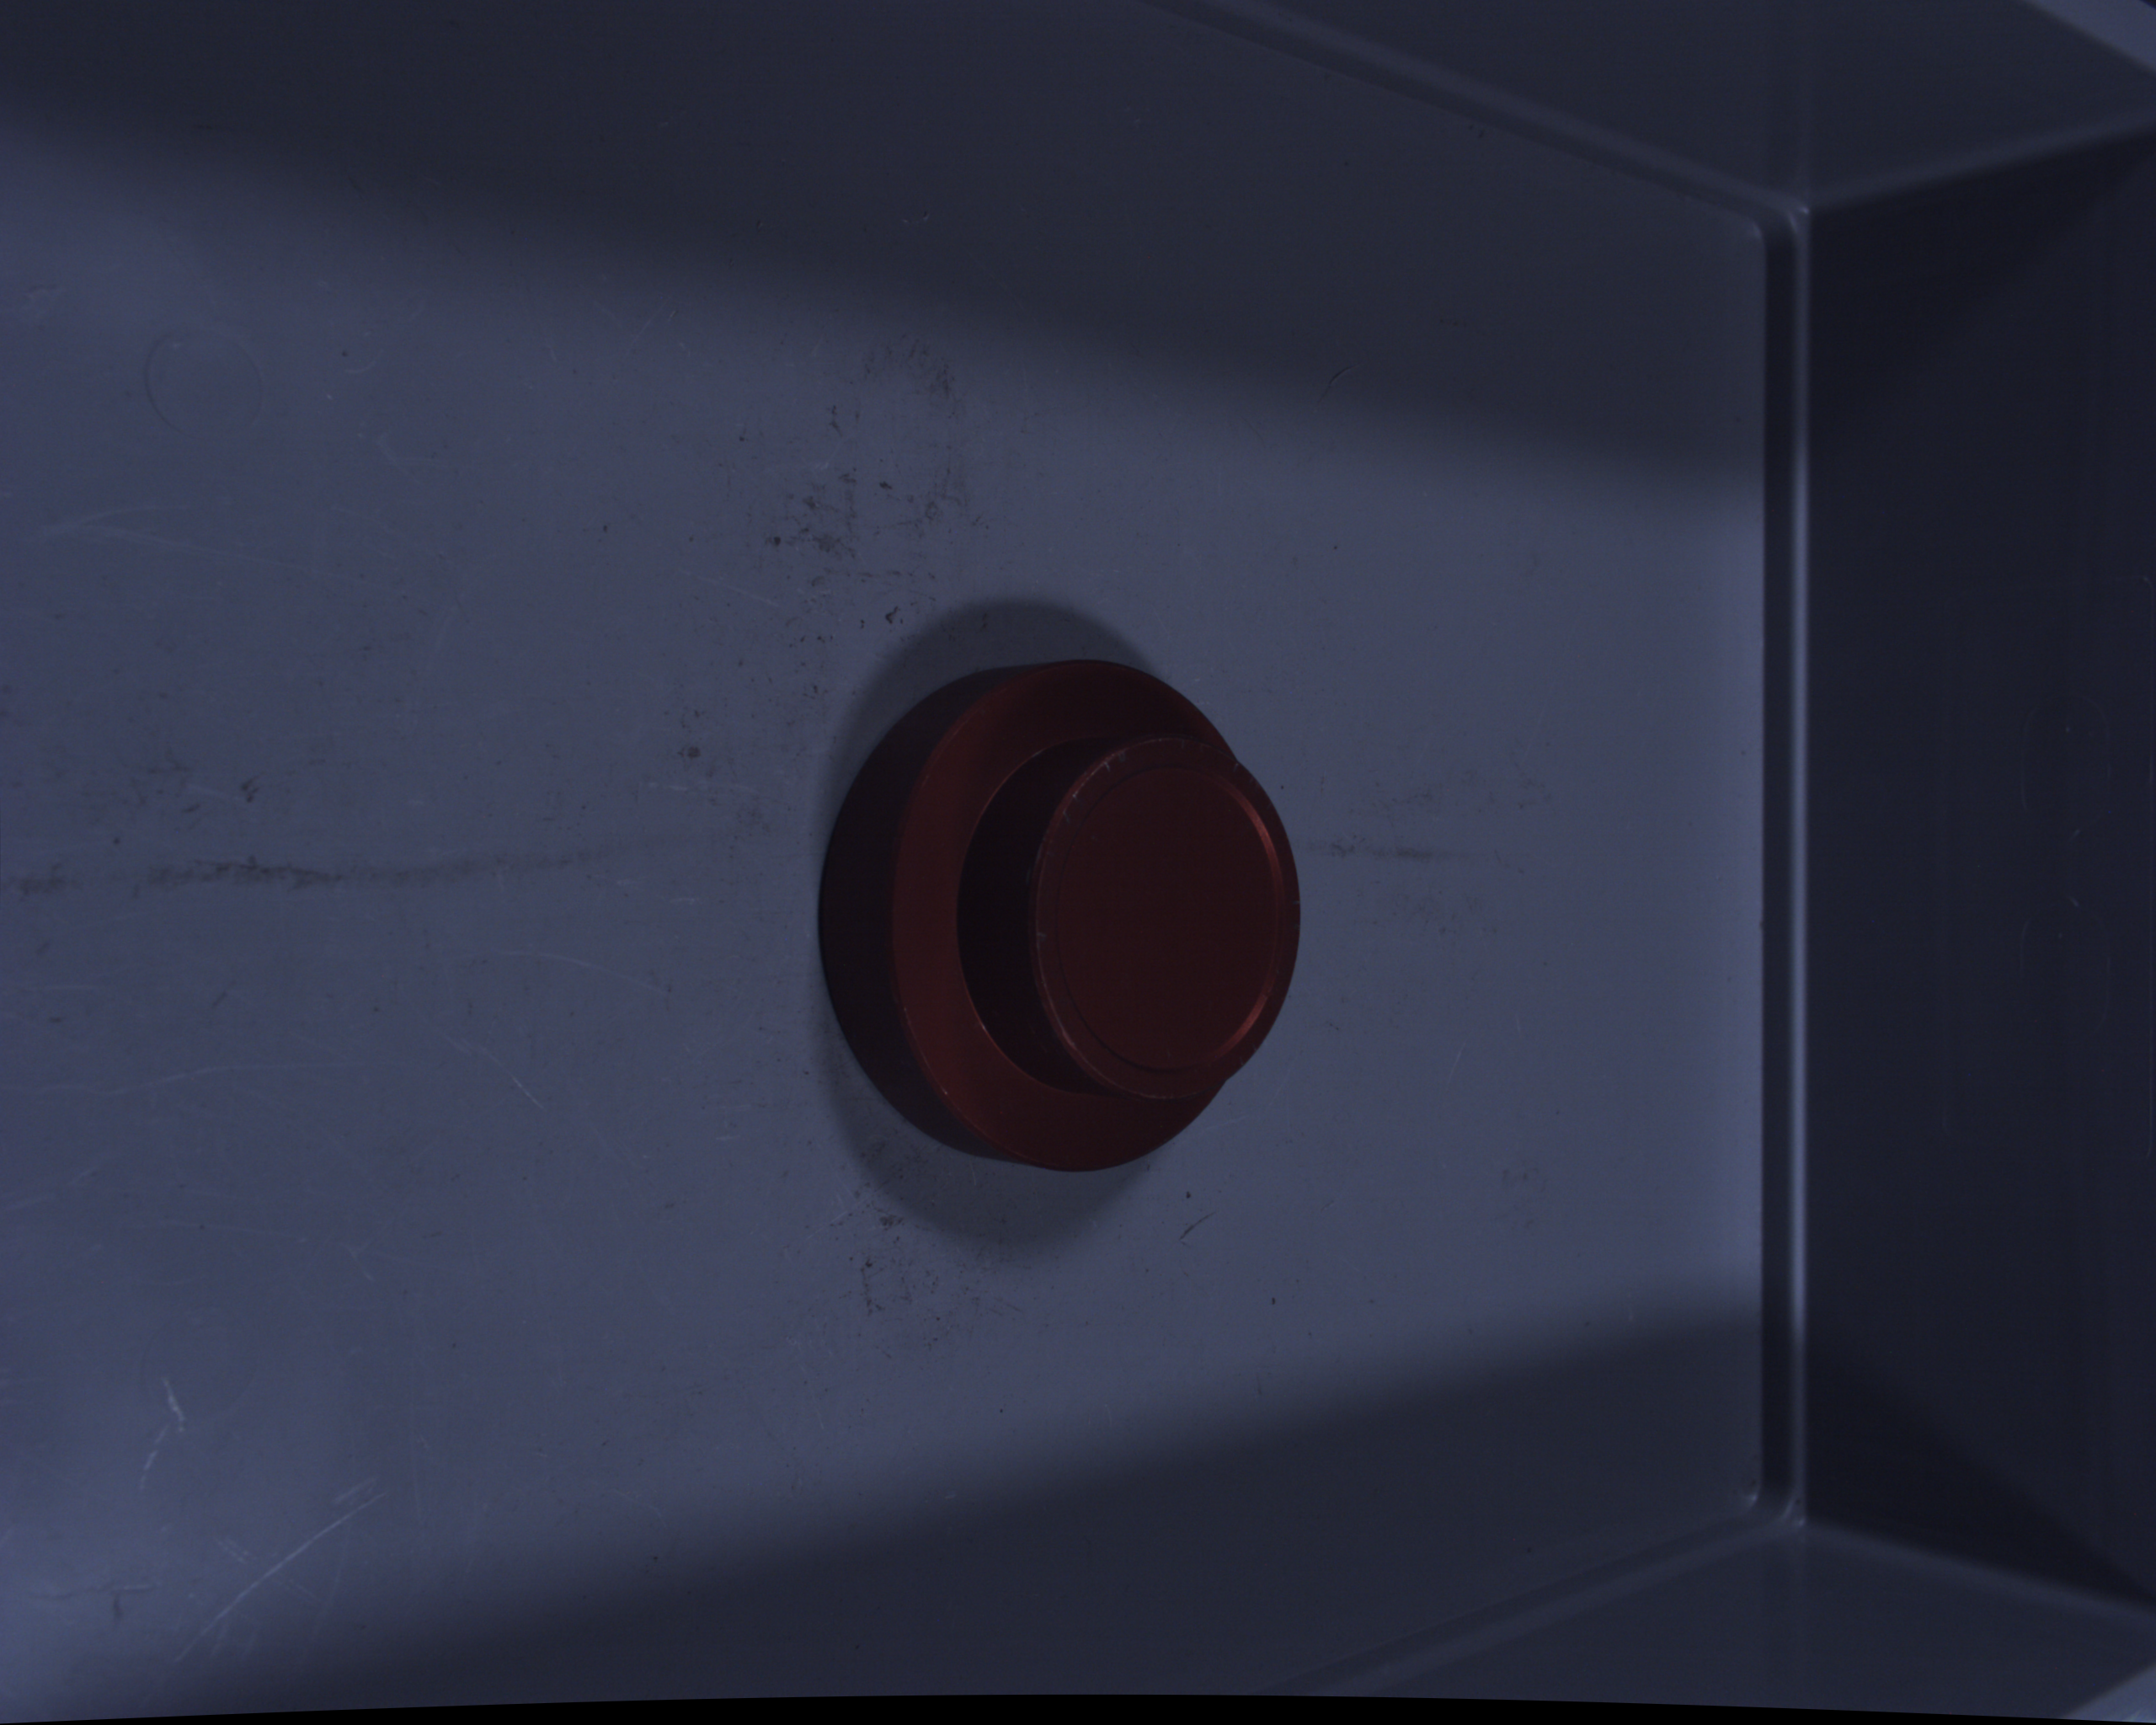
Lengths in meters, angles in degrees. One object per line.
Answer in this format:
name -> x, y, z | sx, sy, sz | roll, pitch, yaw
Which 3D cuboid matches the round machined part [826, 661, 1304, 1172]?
round machined part -> 0.005, 0.010, 0.397 | 0.099, 0.042, 0.097 | 0, 90, -40
